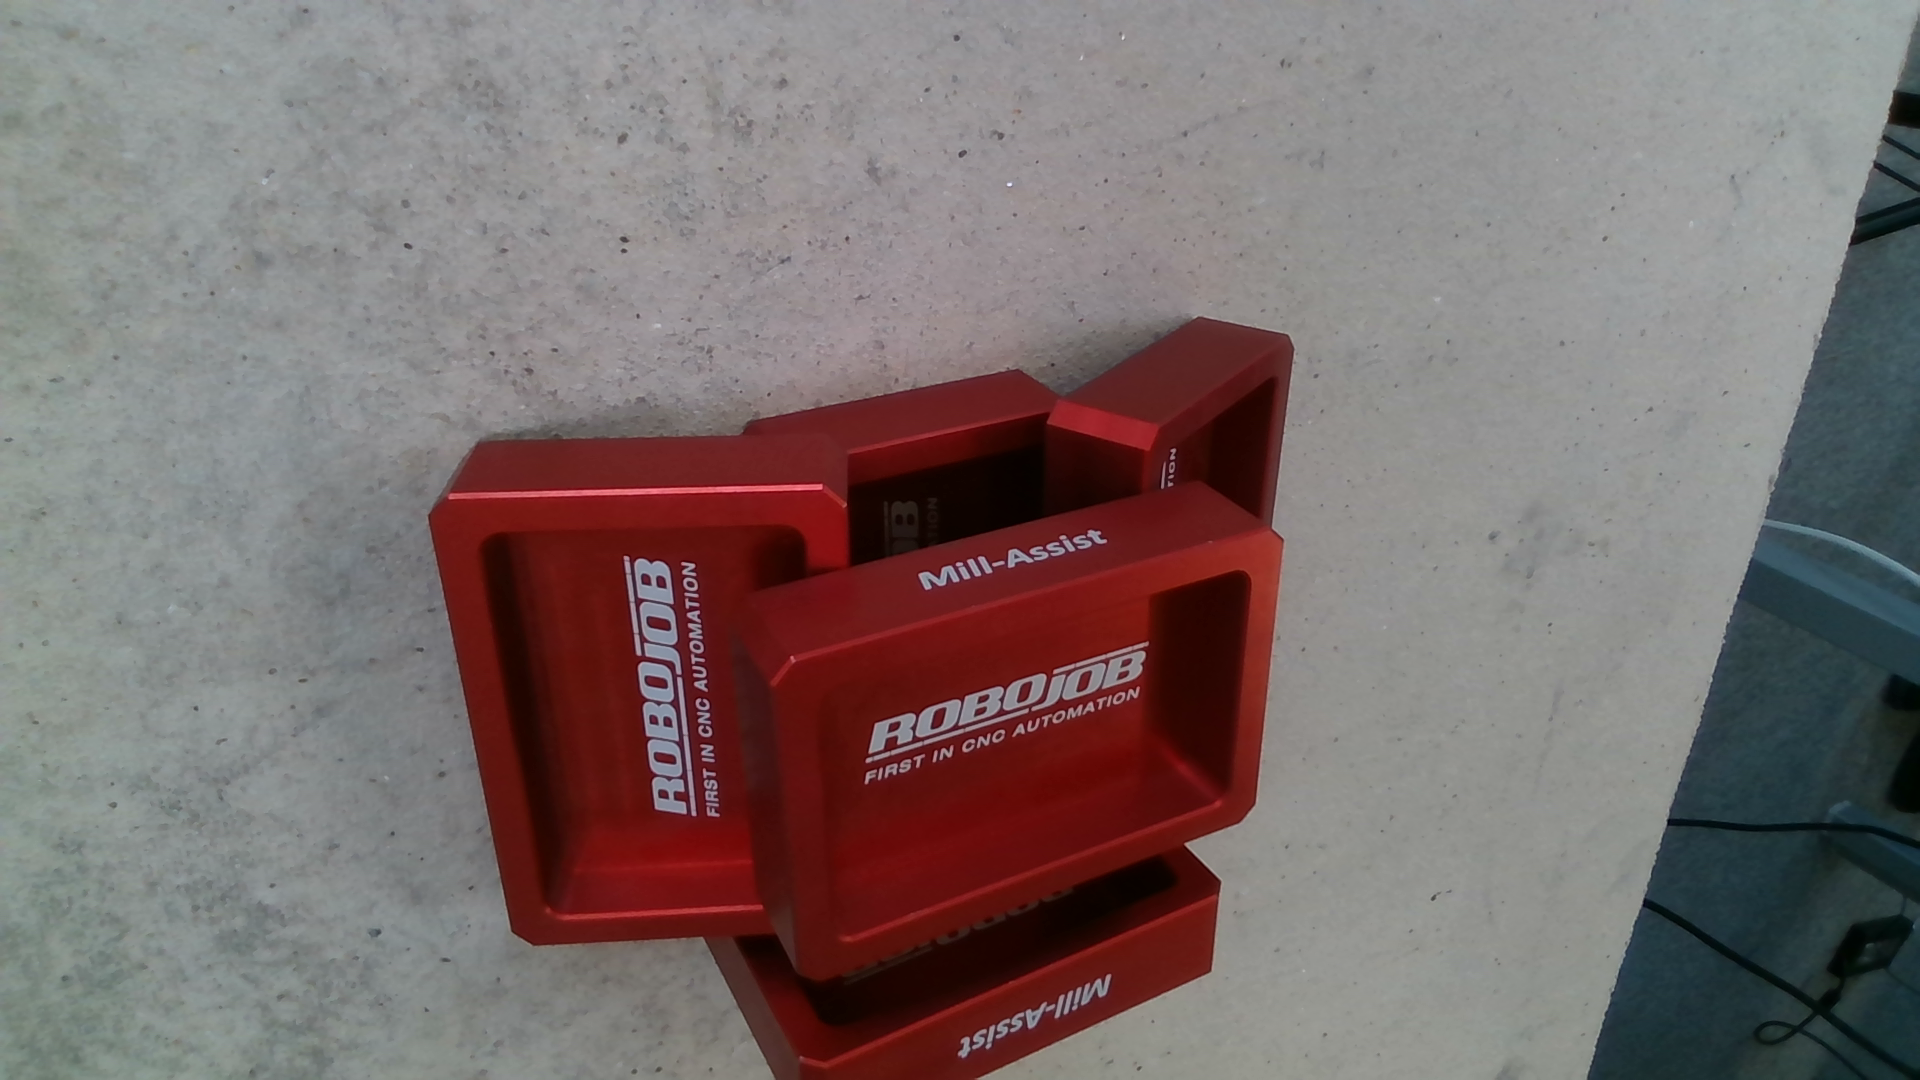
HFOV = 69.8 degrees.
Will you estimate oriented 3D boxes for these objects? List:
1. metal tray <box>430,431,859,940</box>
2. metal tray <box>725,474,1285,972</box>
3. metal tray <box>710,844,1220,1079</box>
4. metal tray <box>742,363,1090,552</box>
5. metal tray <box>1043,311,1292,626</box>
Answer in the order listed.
[{"bbox_3d":[-0.071,0.039,0.342,0.090,0.030,0.130,-2,119,-3],"label":"metal tray"},{"bbox_3d":[0.014,0.042,0.334,0.130,0.030,0.090,-14,121,-22],"label":"metal tray"},{"bbox_3d":[-0.001,0.108,0.405,0.130,0.090,0.030,-15,122,-24],"label":"metal tray"},{"bbox_3d":[-0.011,0.022,0.390,0.090,0.030,0.130,-14,121,-23],"label":"metal tray"},{"bbox_3d":[0.059,0.008,0.405,0.090,0.030,0.130,-35,134,-46],"label":"metal tray"}]
